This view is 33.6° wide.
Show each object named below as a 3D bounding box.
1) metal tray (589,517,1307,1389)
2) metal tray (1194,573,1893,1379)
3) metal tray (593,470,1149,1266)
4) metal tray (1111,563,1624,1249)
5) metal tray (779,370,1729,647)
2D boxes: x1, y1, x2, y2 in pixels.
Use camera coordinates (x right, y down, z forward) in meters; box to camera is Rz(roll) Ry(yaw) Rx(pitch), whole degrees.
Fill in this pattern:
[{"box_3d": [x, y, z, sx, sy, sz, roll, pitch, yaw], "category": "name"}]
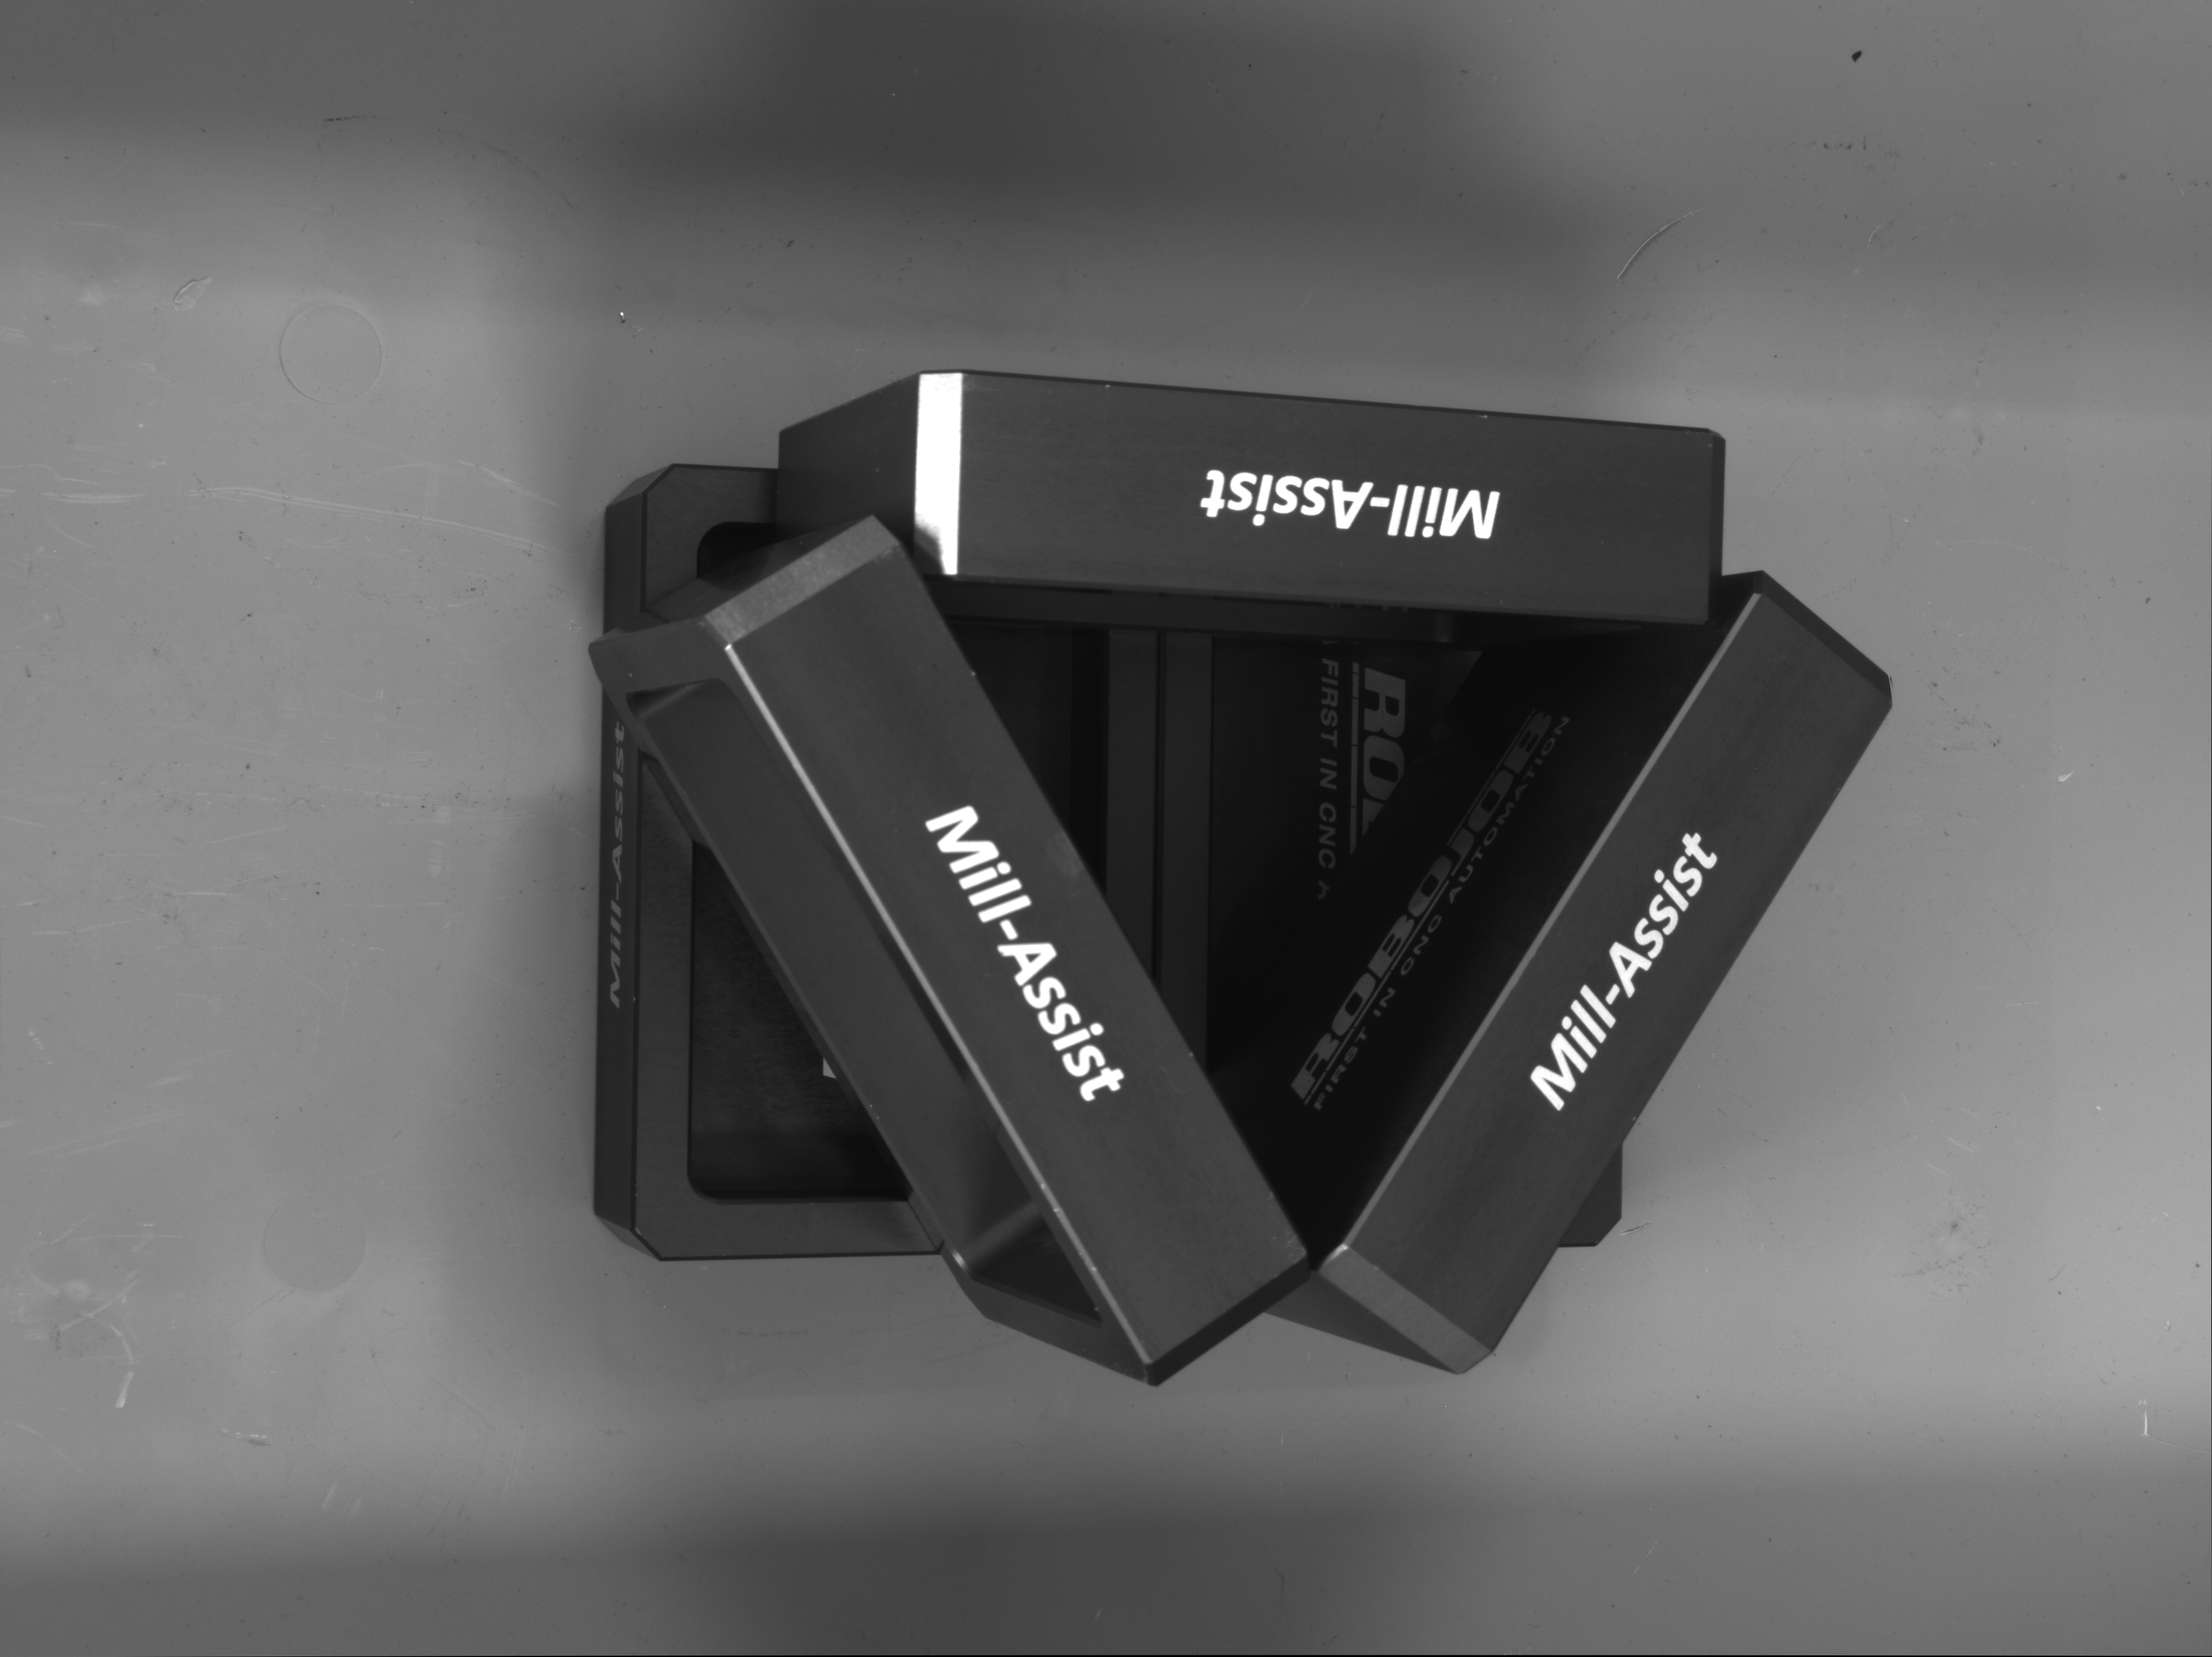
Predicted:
[{"box_3d": [-0.027, 0.019, 0.565, 0.030, 0.090, 0.130, -33, 101, -16], "category": "metal tray"}, {"box_3d": [0.064, 0.022, 0.597, 0.030, 0.090, 0.130, 37, 79, -16], "category": "metal tray"}, {"box_3d": [-0.040, 0.007, 0.626, 0.090, 0.030, 0.130, 1, 89, -20], "category": "metal tray"}, {"box_3d": [0.047, 0.009, 0.656, 0.090, 0.030, 0.130, 2, 89, -20], "category": "metal tray"}, {"box_3d": [0.021, -0.048, 0.582, 0.130, 0.090, 0.030, 2, 89, -20], "category": "metal tray"}]
